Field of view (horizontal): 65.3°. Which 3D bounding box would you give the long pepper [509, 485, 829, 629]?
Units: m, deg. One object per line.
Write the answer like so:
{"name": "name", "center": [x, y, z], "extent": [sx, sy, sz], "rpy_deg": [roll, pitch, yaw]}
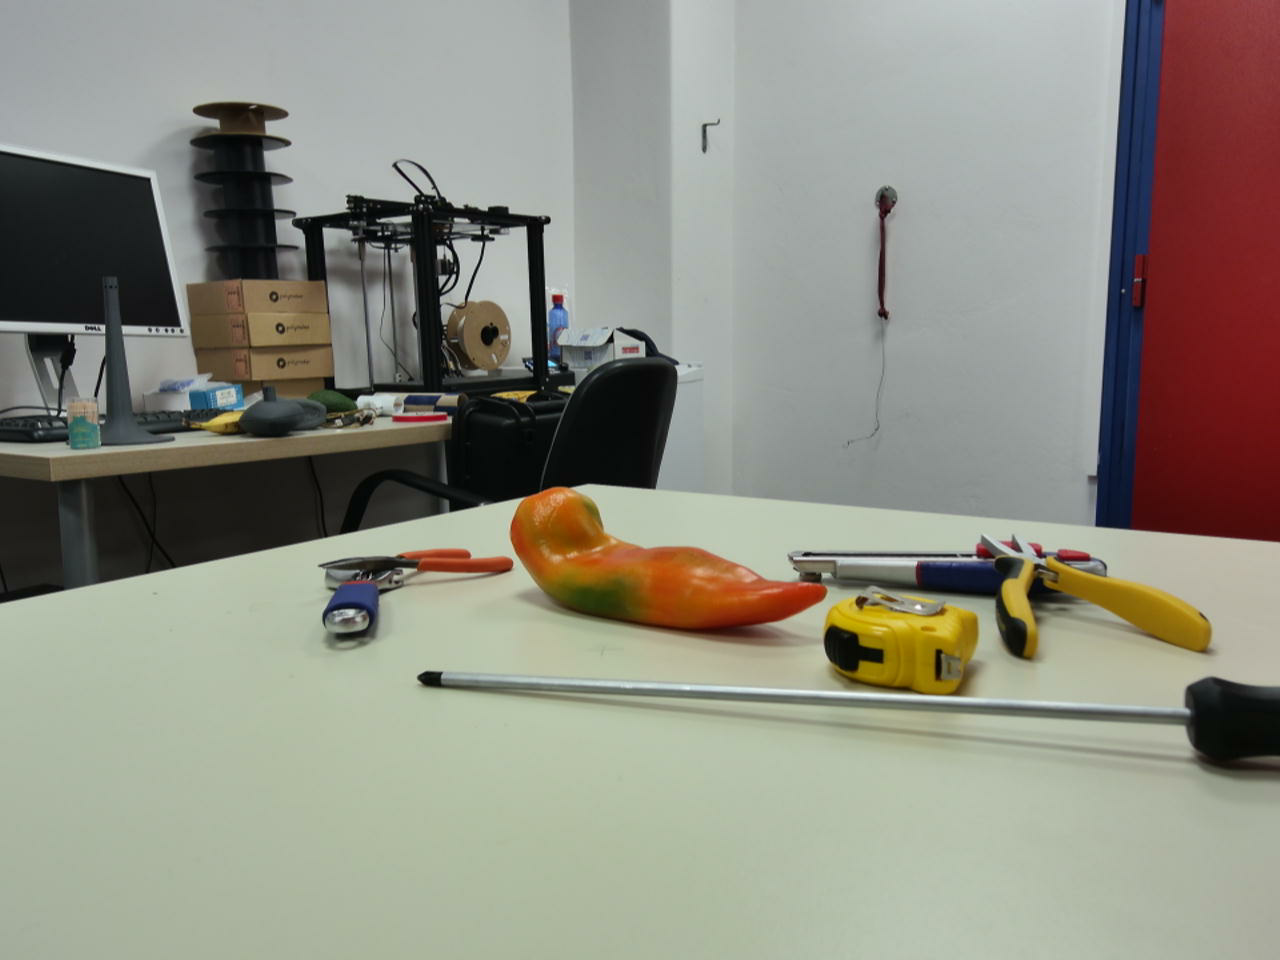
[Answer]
{"name": "long pepper", "center": [0.007, 0.042, 0.541], "extent": [0.199, 0.065, 0.066], "rpy_deg": [6, 7, 41]}
